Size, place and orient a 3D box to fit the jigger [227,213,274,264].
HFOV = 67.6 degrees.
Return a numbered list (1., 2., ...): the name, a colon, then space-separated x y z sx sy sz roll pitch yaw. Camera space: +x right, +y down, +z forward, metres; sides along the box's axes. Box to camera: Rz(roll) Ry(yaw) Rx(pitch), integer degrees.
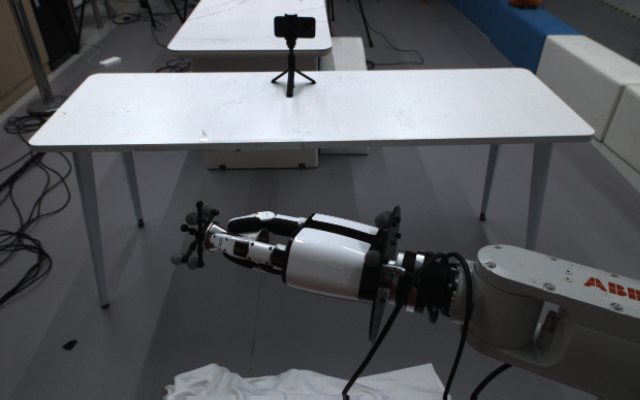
1. jigger: -0.096 0.047 0.594 0.071 0.043 0.043 8 35 16
